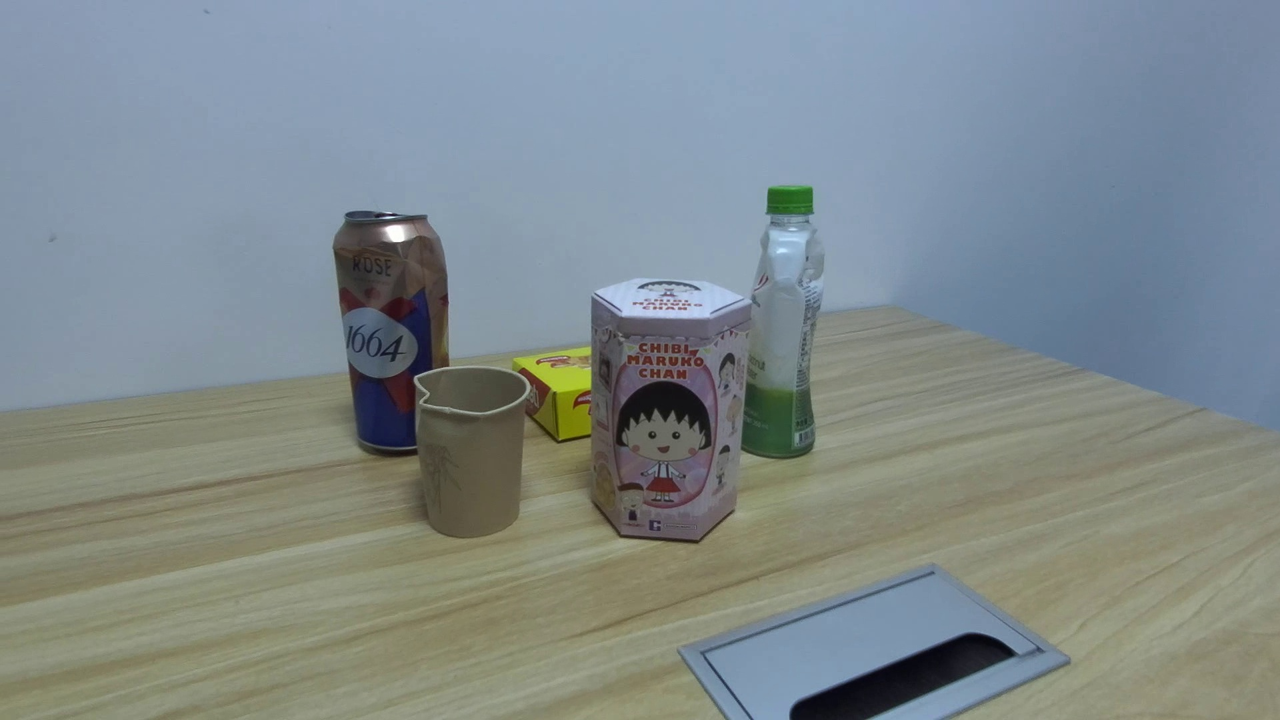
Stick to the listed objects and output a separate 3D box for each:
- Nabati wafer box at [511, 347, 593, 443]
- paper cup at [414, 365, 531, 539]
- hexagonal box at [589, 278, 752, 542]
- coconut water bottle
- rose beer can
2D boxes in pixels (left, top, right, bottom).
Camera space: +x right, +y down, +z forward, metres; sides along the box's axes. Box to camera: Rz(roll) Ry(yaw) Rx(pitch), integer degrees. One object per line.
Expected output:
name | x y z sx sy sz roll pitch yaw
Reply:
Nabati wafer box | -0.027 0.020 0.632 0.096 0.042 0.204 20 21 41
paper cup | -0.100 0.054 0.418 0.073 0.081 0.069 5 18 10
hexagonal box | 0.016 0.028 0.417 0.091 0.136 0.084 3 19 4
coconut water bottle | 0.101 -0.027 0.503 0.067 0.187 0.067 1 17 0
rose beer can | -0.172 -0.020 0.503 0.075 0.167 0.065 15 21 37
